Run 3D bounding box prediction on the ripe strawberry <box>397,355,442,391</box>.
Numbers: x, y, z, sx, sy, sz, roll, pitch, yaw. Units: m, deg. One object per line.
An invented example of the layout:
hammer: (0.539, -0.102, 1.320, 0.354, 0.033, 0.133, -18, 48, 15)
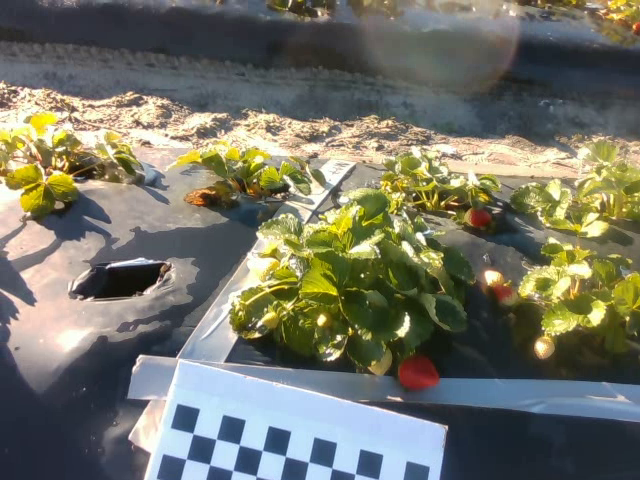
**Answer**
ripe strawberry: (0.112, 0.148, 0.667, 0.049, 0.045, 0.063, 43, -12, -21)
